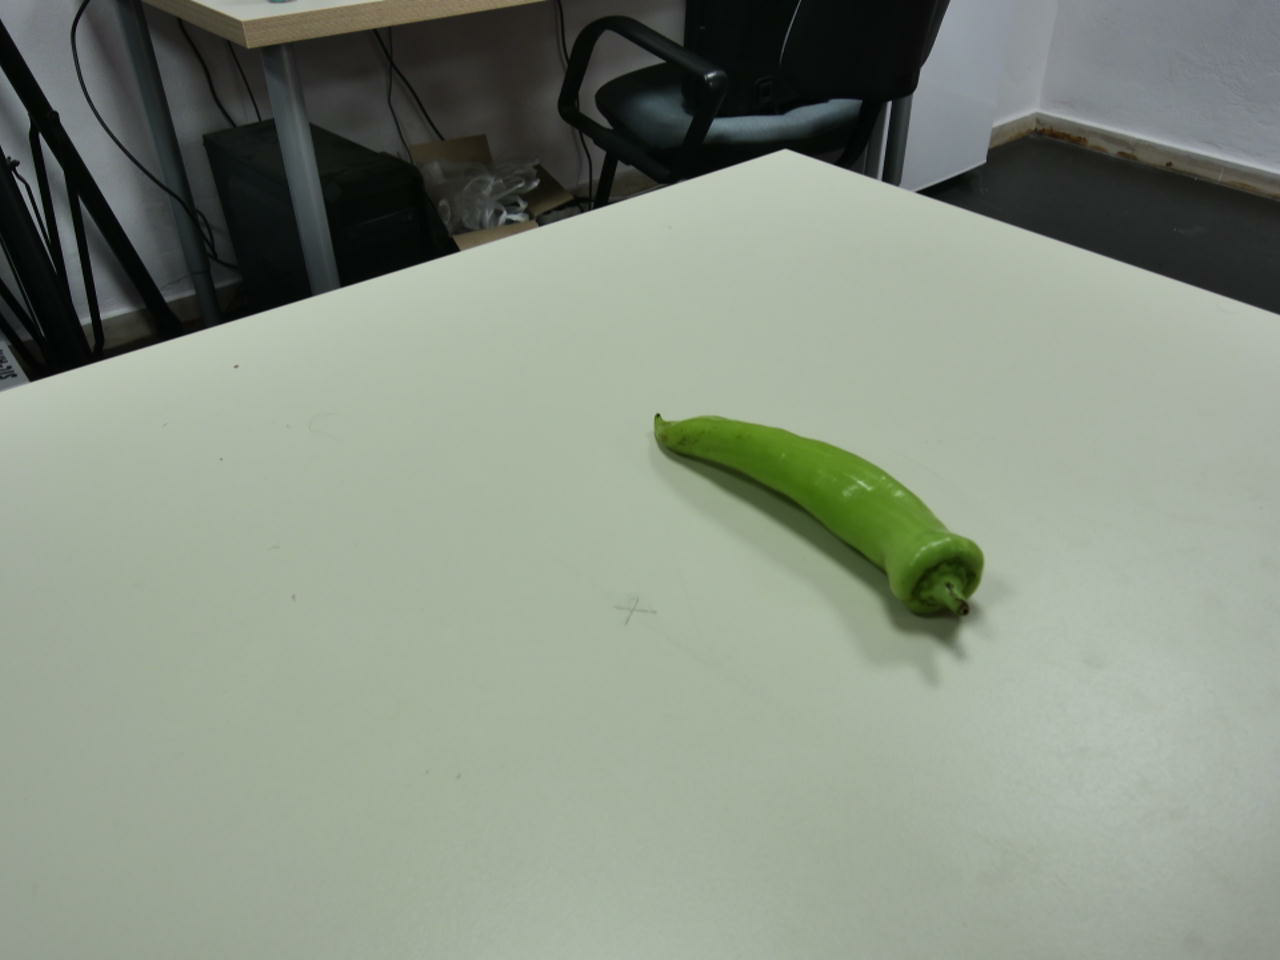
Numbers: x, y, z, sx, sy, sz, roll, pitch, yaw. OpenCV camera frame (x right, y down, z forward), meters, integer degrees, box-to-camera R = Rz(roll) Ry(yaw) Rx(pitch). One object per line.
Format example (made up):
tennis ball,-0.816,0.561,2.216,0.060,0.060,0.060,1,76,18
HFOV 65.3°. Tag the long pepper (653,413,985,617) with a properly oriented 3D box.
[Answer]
long pepper,0.074,0.001,0.438,0.046,0.038,0.197,-22,40,-28
